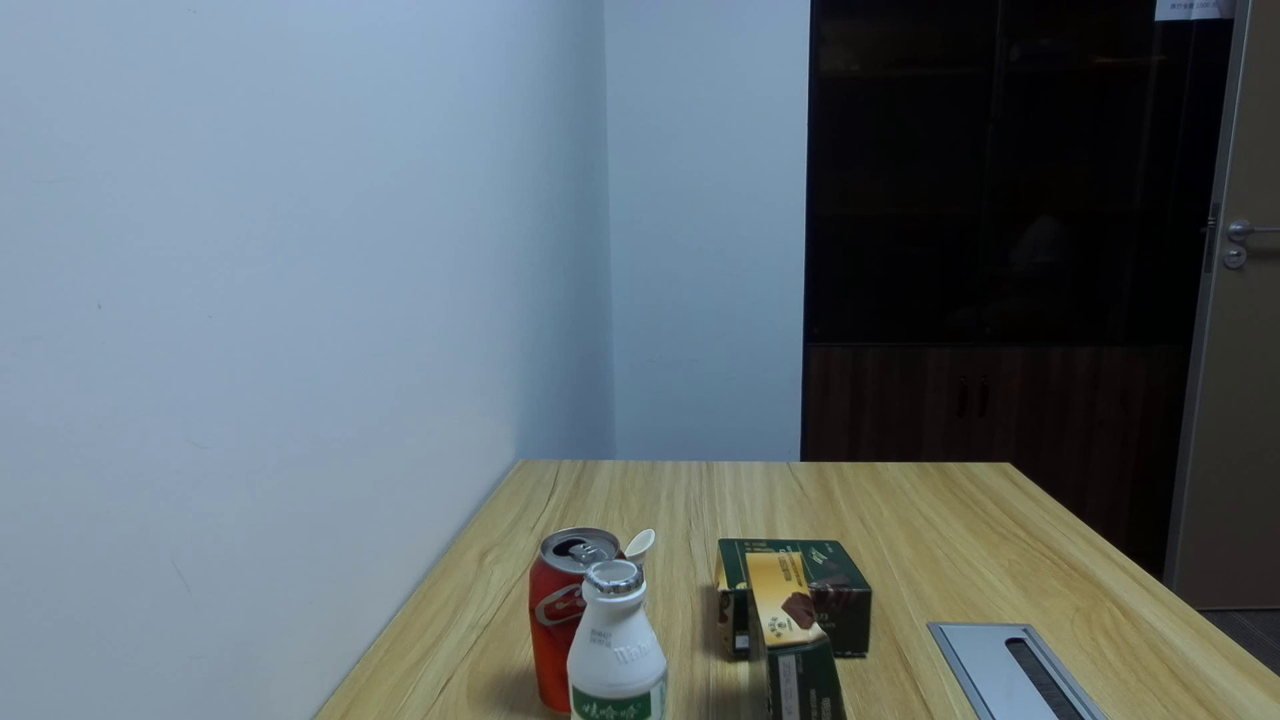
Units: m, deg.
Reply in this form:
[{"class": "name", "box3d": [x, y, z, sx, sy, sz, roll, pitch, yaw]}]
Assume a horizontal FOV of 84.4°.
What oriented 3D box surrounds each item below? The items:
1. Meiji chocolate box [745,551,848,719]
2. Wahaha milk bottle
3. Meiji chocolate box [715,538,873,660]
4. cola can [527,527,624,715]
[{"class": "Meiji chocolate box", "box3d": [0.093, 0.188, 0.429, 0.051, 0.117, 0.117, -9, 10, 2]}, {"class": "Wahaha milk bottle", "box3d": [-0.012, 0.180, 0.383, 0.056, 0.147, 0.056, -1, 13, 0]}, {"class": "Meiji chocolate box", "box3d": [0.121, 0.191, 0.581, 0.122, 0.058, 0.116, 0, 9, 1]}, {"class": "cola can", "box3d": [-0.037, 0.178, 0.487, 0.072, 0.117, 0.065, -1, 9, -7]}]
